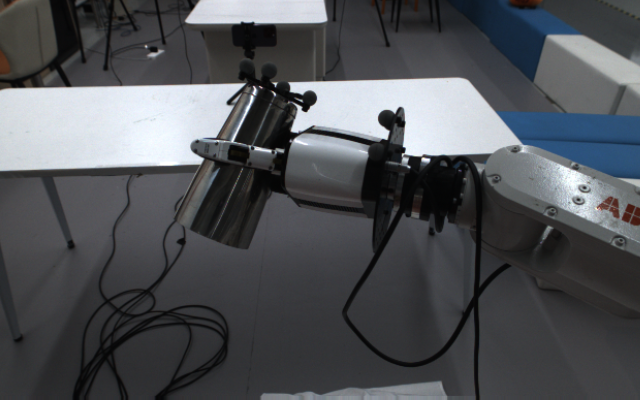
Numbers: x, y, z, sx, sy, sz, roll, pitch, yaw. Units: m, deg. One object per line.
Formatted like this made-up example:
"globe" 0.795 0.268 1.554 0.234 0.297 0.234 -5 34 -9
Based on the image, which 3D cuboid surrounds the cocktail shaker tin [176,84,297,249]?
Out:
"cocktail shaker tin" -0.087 -0.042 0.553 0.093 0.170 0.093 23 0 0
